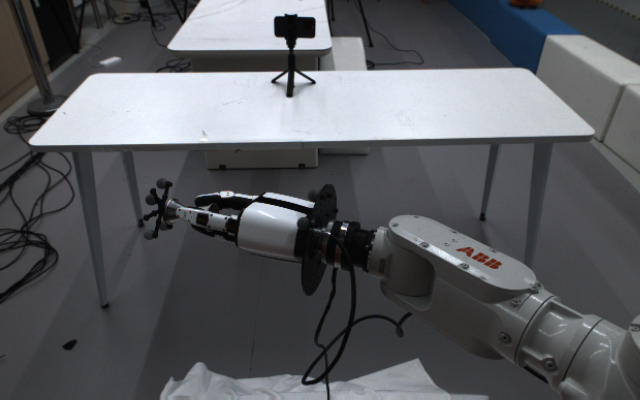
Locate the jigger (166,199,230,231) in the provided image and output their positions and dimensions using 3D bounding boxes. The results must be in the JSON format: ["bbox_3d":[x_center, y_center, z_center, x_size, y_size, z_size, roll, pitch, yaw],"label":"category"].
[{"bbox_3d":[-0.186,0.019,0.726,0.071,0.043,0.043,8,35,13],"label":"jigger"}]
